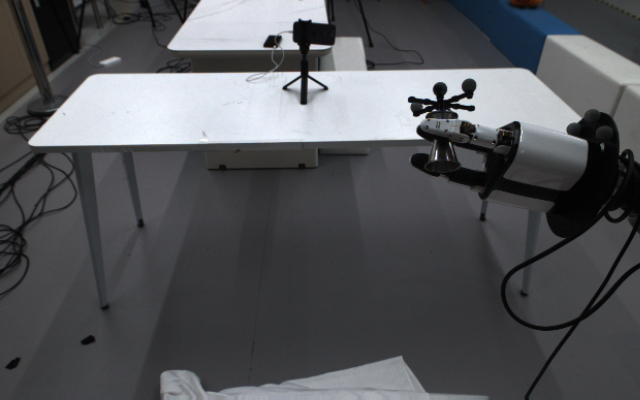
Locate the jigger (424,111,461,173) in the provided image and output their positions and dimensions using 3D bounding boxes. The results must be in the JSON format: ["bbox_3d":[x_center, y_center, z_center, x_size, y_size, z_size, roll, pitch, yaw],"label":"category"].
[{"bbox_3d":[0.151,-0.075,0.608,0.043,0.043,0.071,3,75,1],"label":"jigger"}]
